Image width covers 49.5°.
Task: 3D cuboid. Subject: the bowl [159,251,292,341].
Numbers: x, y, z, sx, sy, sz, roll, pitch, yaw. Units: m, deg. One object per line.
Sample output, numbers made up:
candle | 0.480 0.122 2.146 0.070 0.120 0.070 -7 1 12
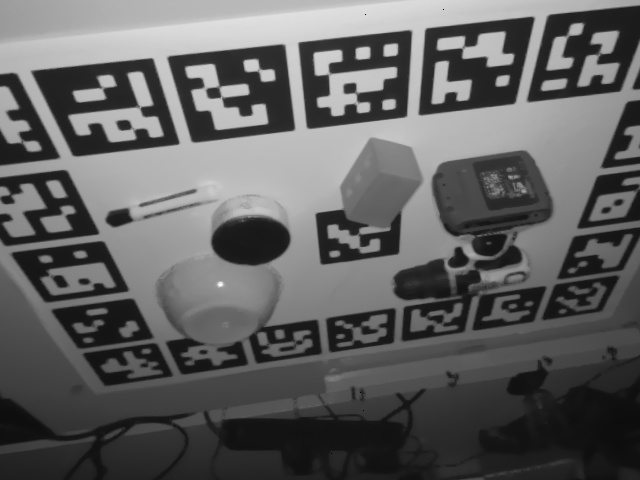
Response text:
bowl | -0.111 0.078 0.843 0.162 0.055 0.160 -9 146 -5

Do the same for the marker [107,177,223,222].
marker | -0.160 -0.041 0.710 0.121 0.020 0.019 -14 137 5

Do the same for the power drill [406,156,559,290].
power drill | 0.192 -0.009 0.796 0.185 0.058 0.185 -6 141 1

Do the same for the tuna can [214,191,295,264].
tuna can | -0.071 -0.013 0.749 0.086 0.034 0.085 -4 139 -3

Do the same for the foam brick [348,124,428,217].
foam brick | 0.069 -0.071 0.709 0.052 0.053 0.077 10 134 -19
